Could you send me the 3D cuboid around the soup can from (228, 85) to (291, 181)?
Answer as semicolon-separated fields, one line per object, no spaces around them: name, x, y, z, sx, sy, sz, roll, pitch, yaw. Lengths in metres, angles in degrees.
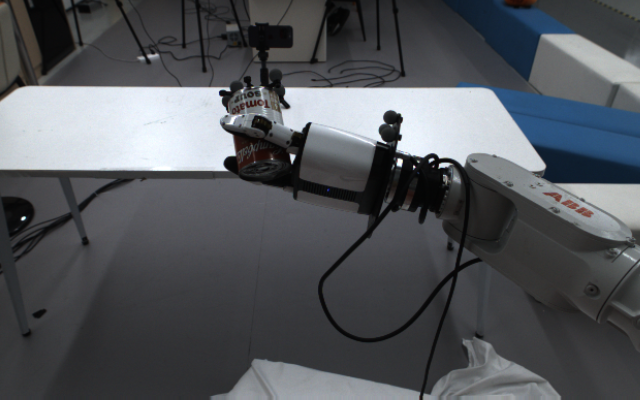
soup can;-0.075;-0.082;0.611;0.067;0.067;0.101;-8;74;-14
